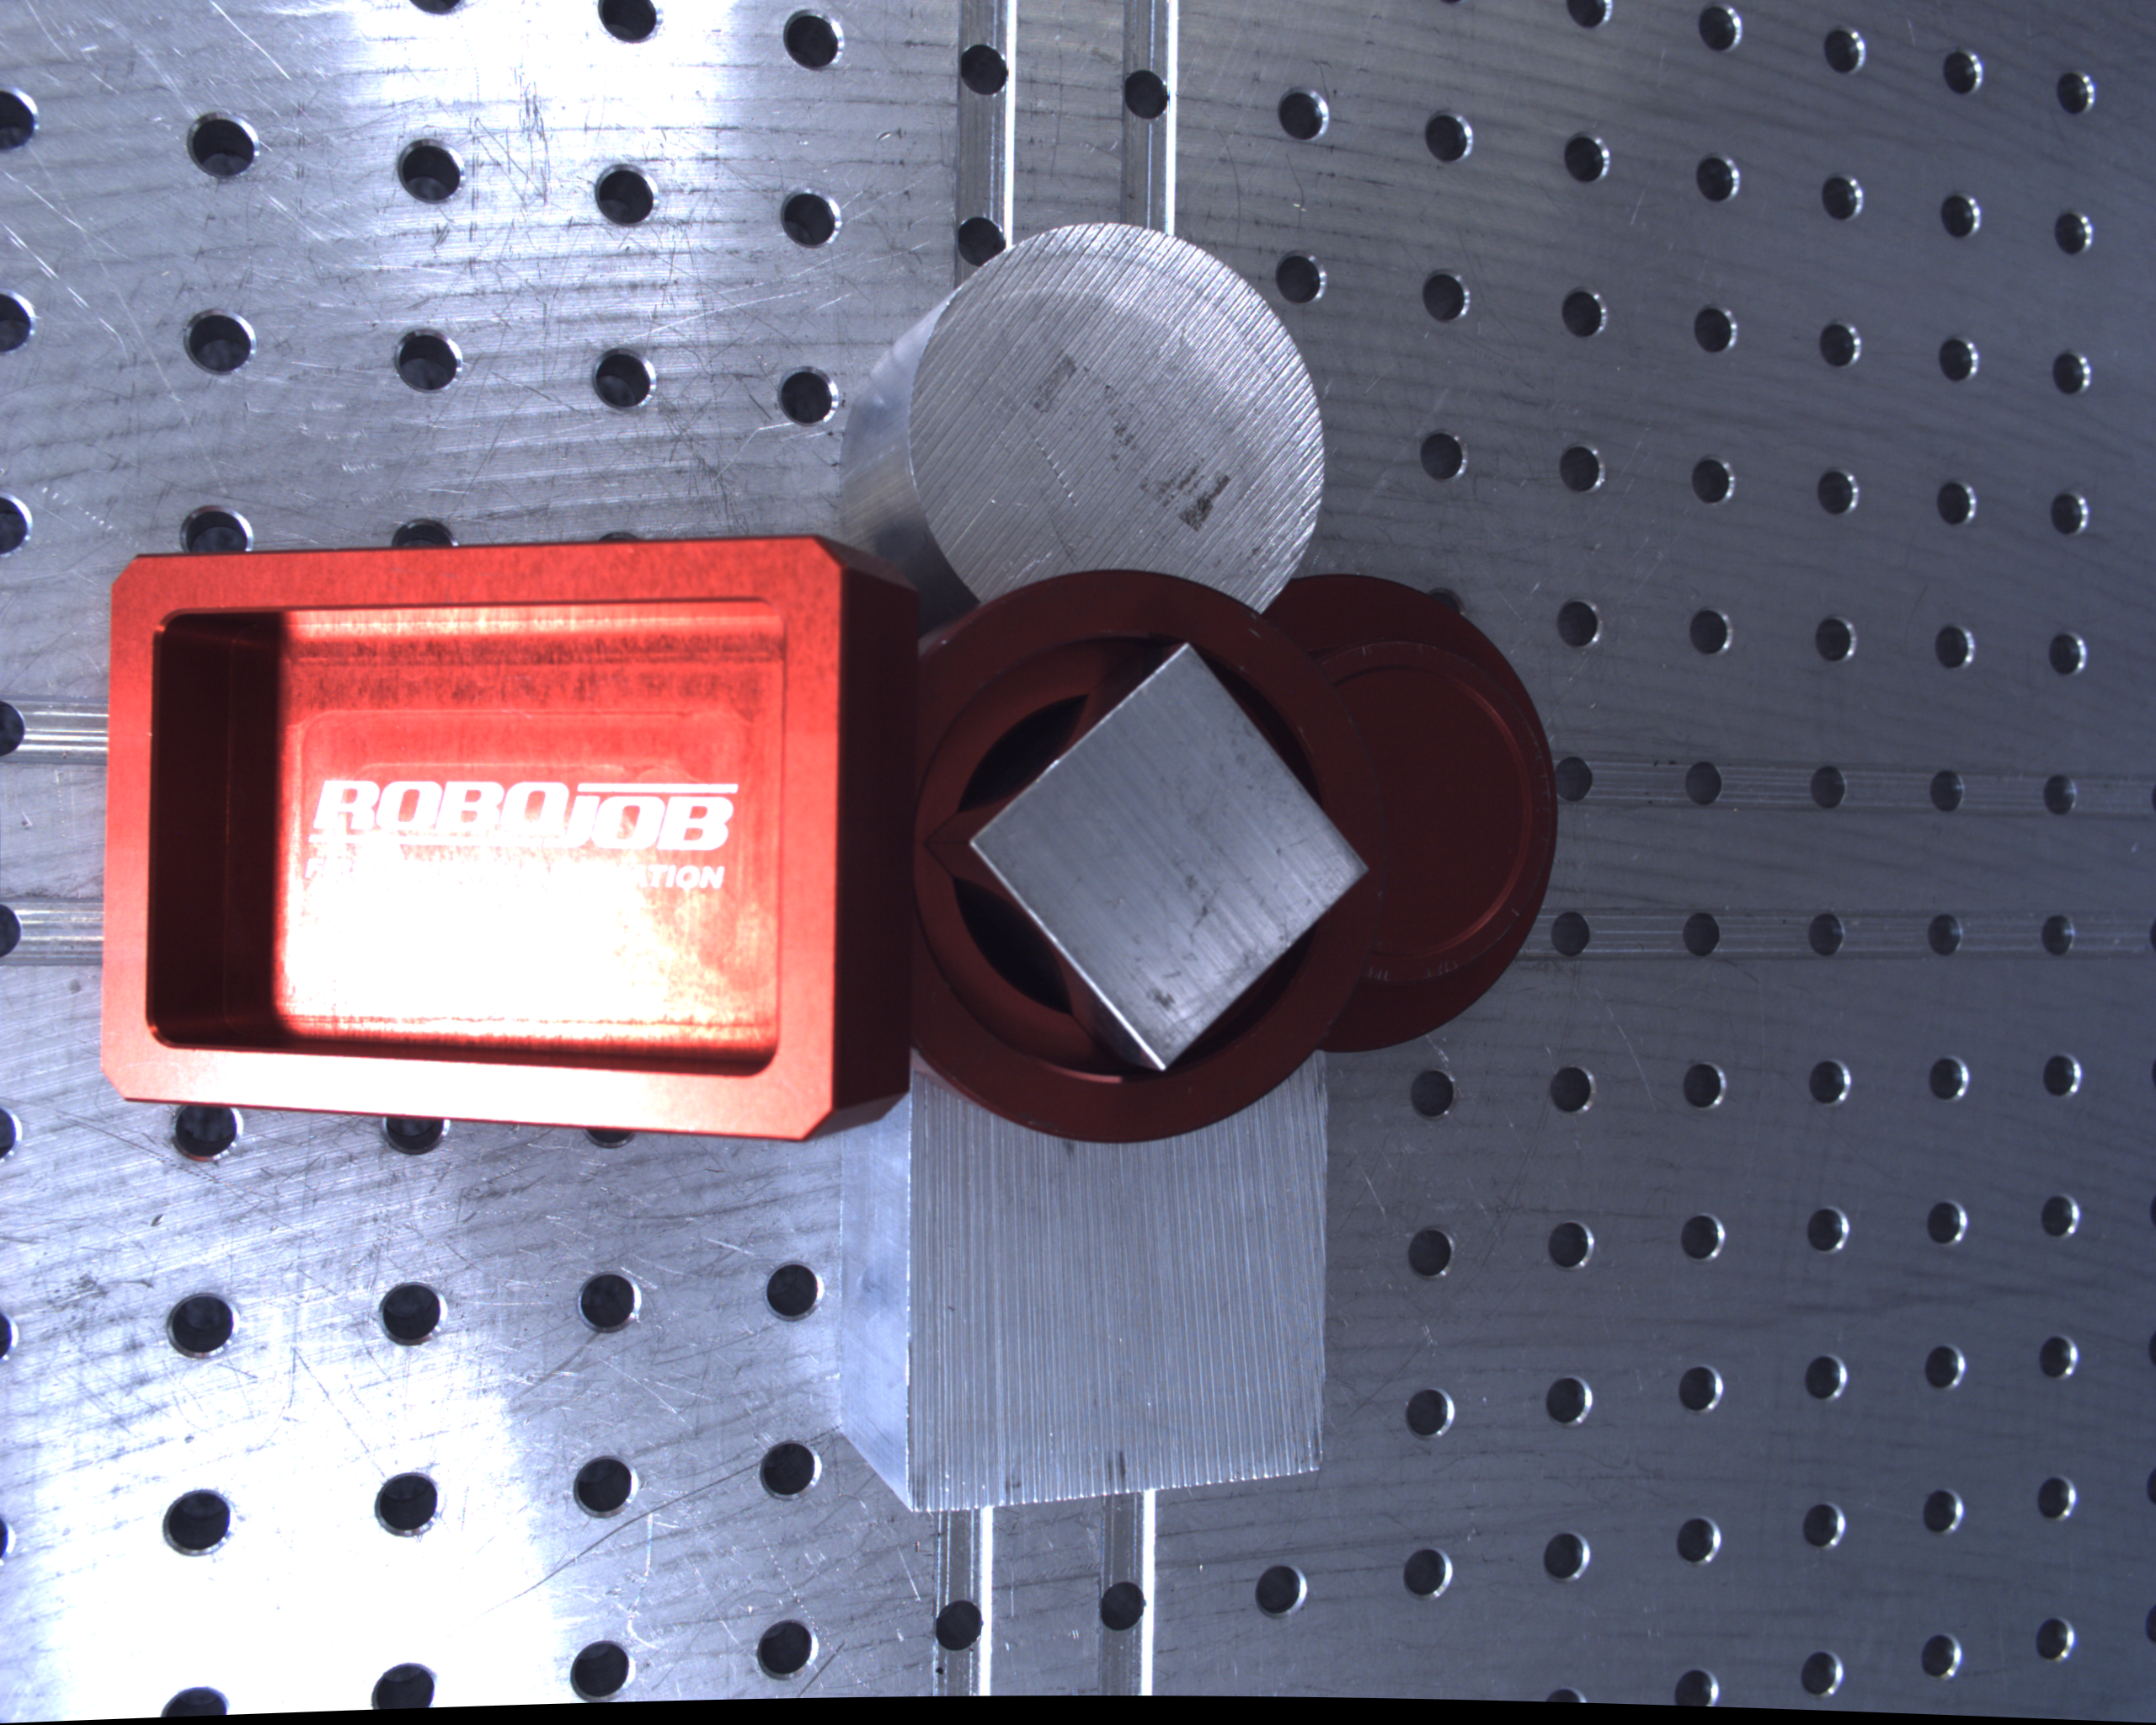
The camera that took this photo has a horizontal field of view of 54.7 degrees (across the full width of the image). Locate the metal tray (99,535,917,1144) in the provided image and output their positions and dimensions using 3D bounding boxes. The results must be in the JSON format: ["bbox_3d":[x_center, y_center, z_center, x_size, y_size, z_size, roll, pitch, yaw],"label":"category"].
[{"bbox_3d":[-0.093,-0.005,0.337,0.130,0.030,0.089,1,90,17],"label":"metal tray"}]

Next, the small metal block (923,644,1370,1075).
[{"bbox_3d":[0.012,-0.001,0.351,0.050,0.025,0.050,-43,104,-15],"label":"small metal block"}]

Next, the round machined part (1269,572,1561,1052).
[{"bbox_3d":[0.056,-0.010,0.423,0.099,0.042,0.097,0,90,-20],"label":"round machined part"}]

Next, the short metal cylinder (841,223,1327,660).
[{"bbox_3d":[0.000,-0.075,0.399,0.081,0.050,0.080,0,90,-20],"label":"short metal cylinder"}]

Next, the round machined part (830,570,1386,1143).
[{"bbox_3d":[0.002,-0.001,0.373,0.099,0.042,0.097,0,90,-20],"label":"round machined part"}]

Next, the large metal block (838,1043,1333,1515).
[{"bbox_3d":[0.000,0.073,0.396,0.081,0.050,0.080,1,90,-20],"label":"large metal block"}]
